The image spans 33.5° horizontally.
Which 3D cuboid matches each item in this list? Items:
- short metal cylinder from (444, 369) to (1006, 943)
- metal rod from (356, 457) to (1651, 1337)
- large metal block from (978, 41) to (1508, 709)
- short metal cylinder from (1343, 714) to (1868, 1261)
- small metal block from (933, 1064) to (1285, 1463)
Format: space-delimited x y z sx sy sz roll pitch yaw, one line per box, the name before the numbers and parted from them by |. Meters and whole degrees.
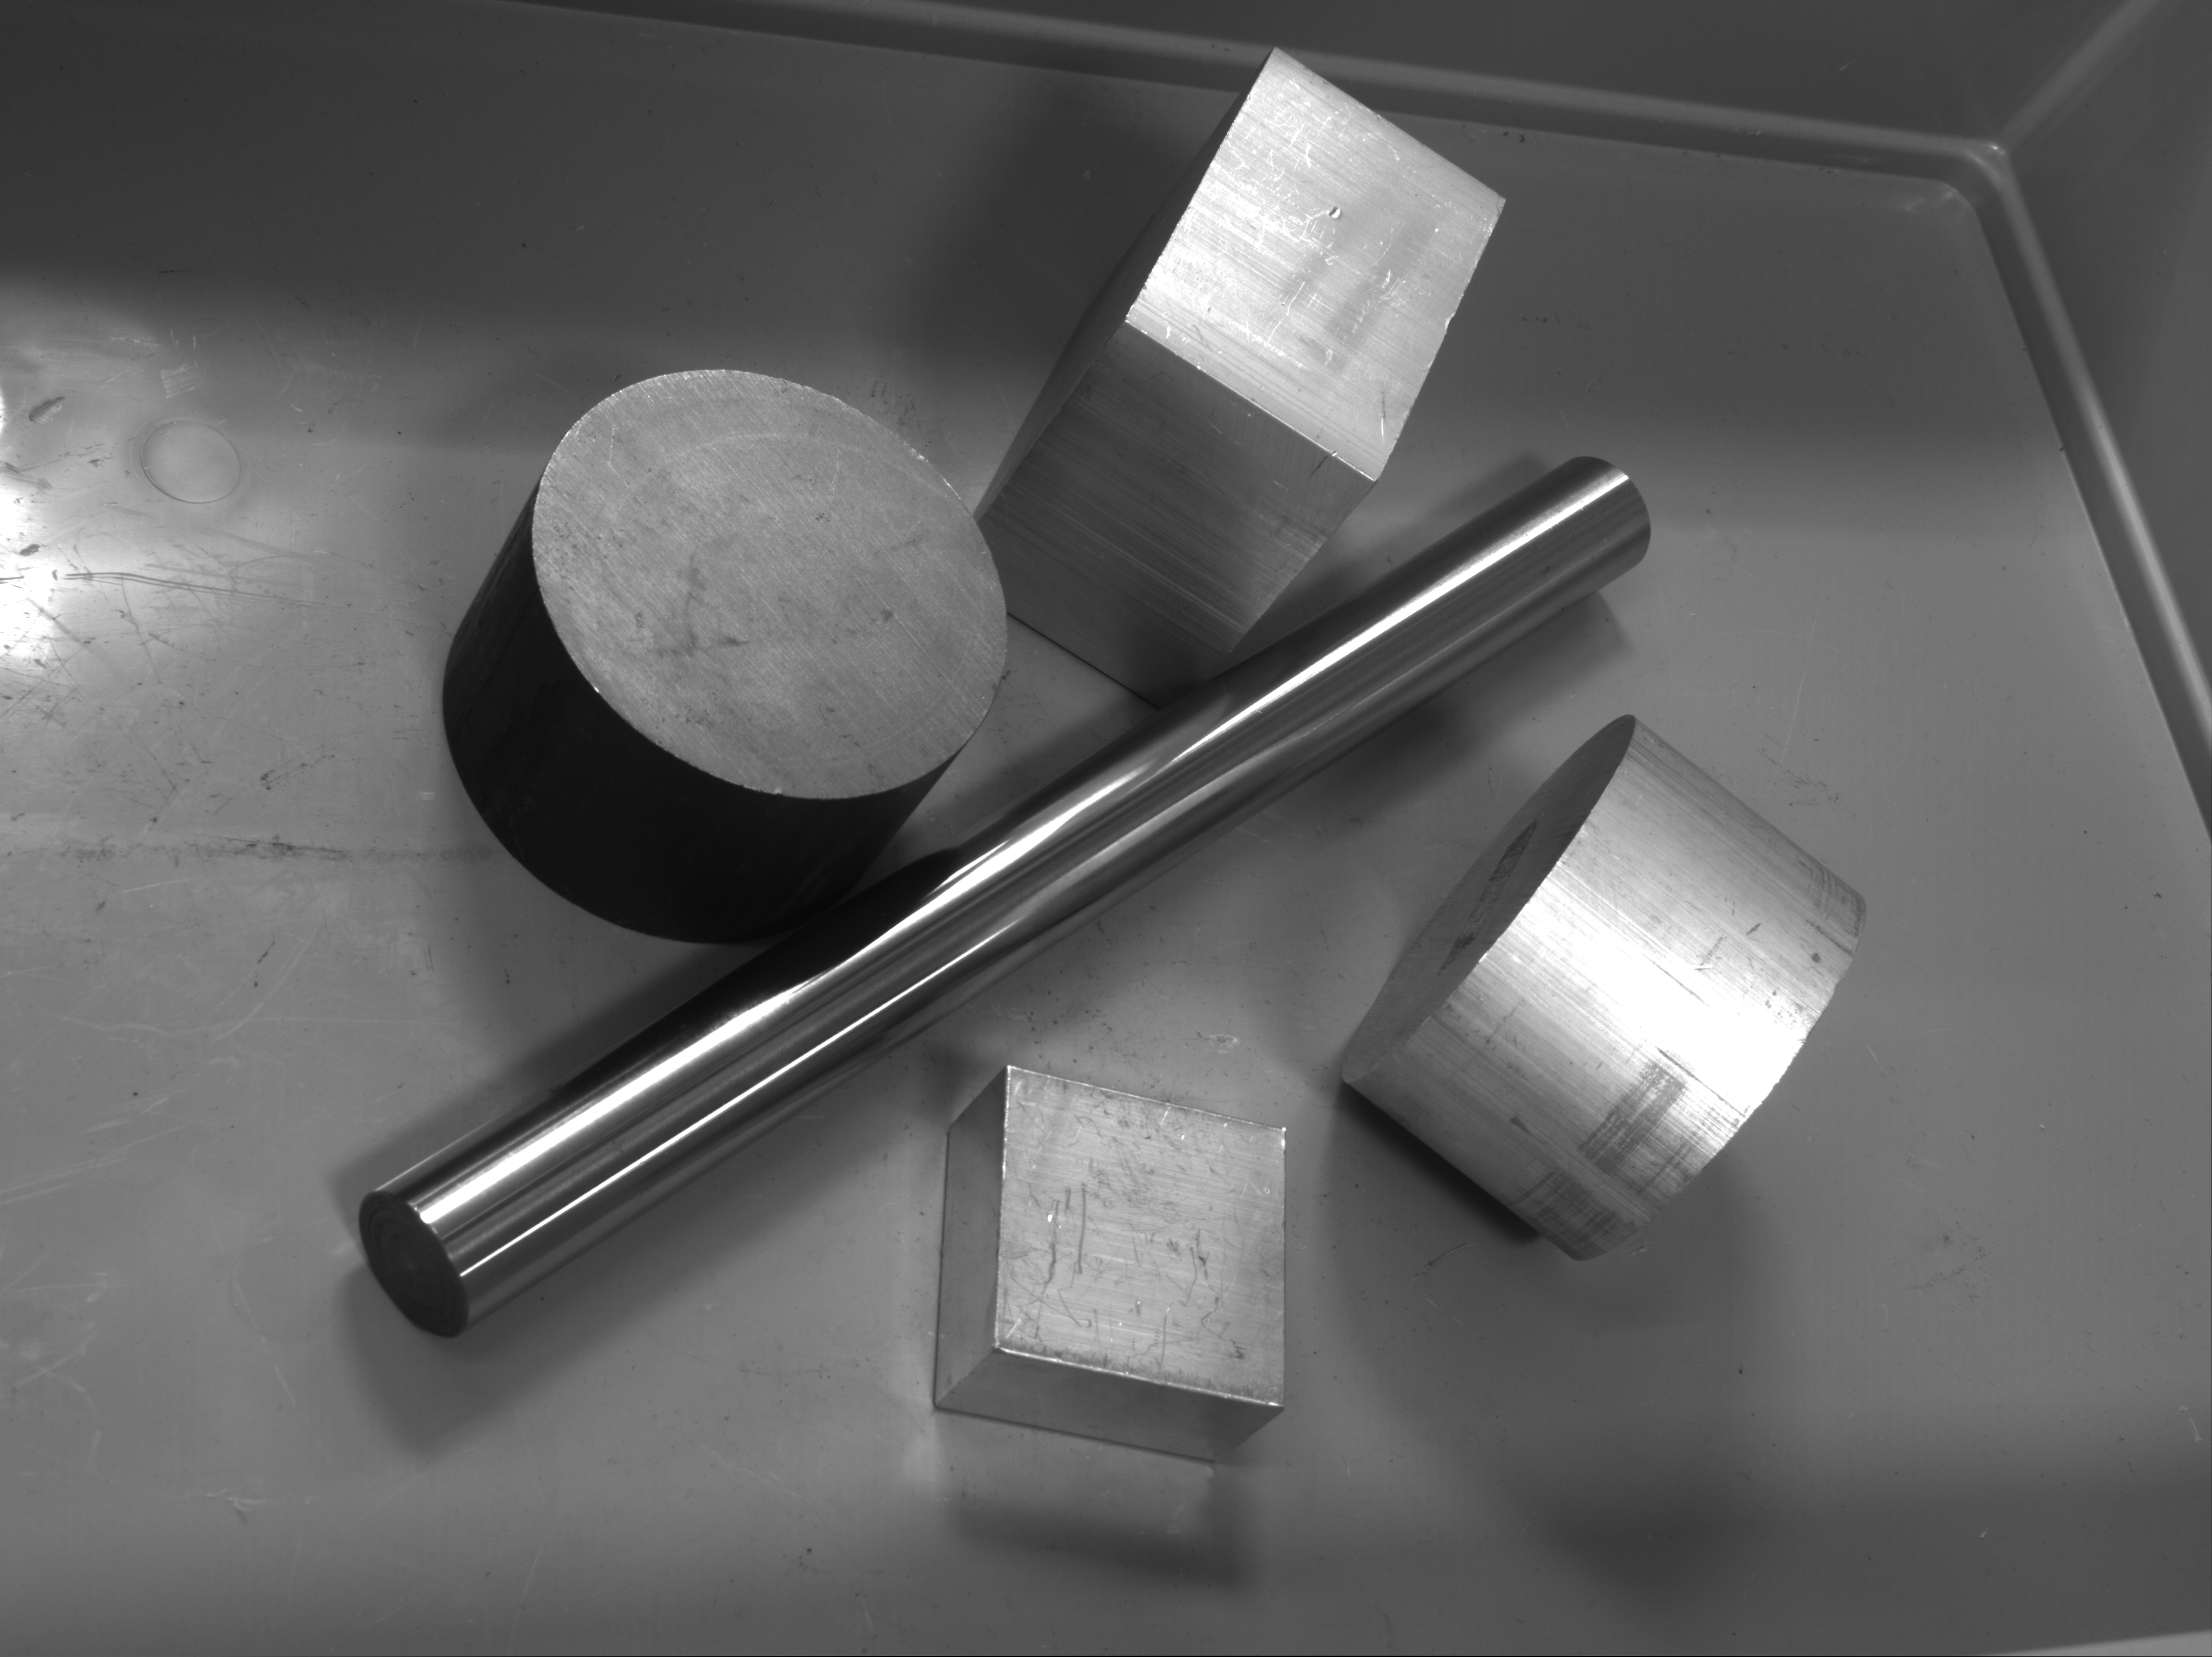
short metal cylinder | -0.063 -0.028 0.605 0.080 0.050 0.080 13 56 -21
metal rod | -0.003 0.001 0.636 0.301 0.025 0.025 -32 80 -38
large metal block | 0.021 -0.080 0.663 0.050 0.080 0.080 32 52 -7
short metal cylinder | 0.085 0.027 0.632 0.050 0.080 0.080 38 51 -3
small metal block | 0.001 0.071 0.595 0.050 0.025 0.050 14 56 -20
